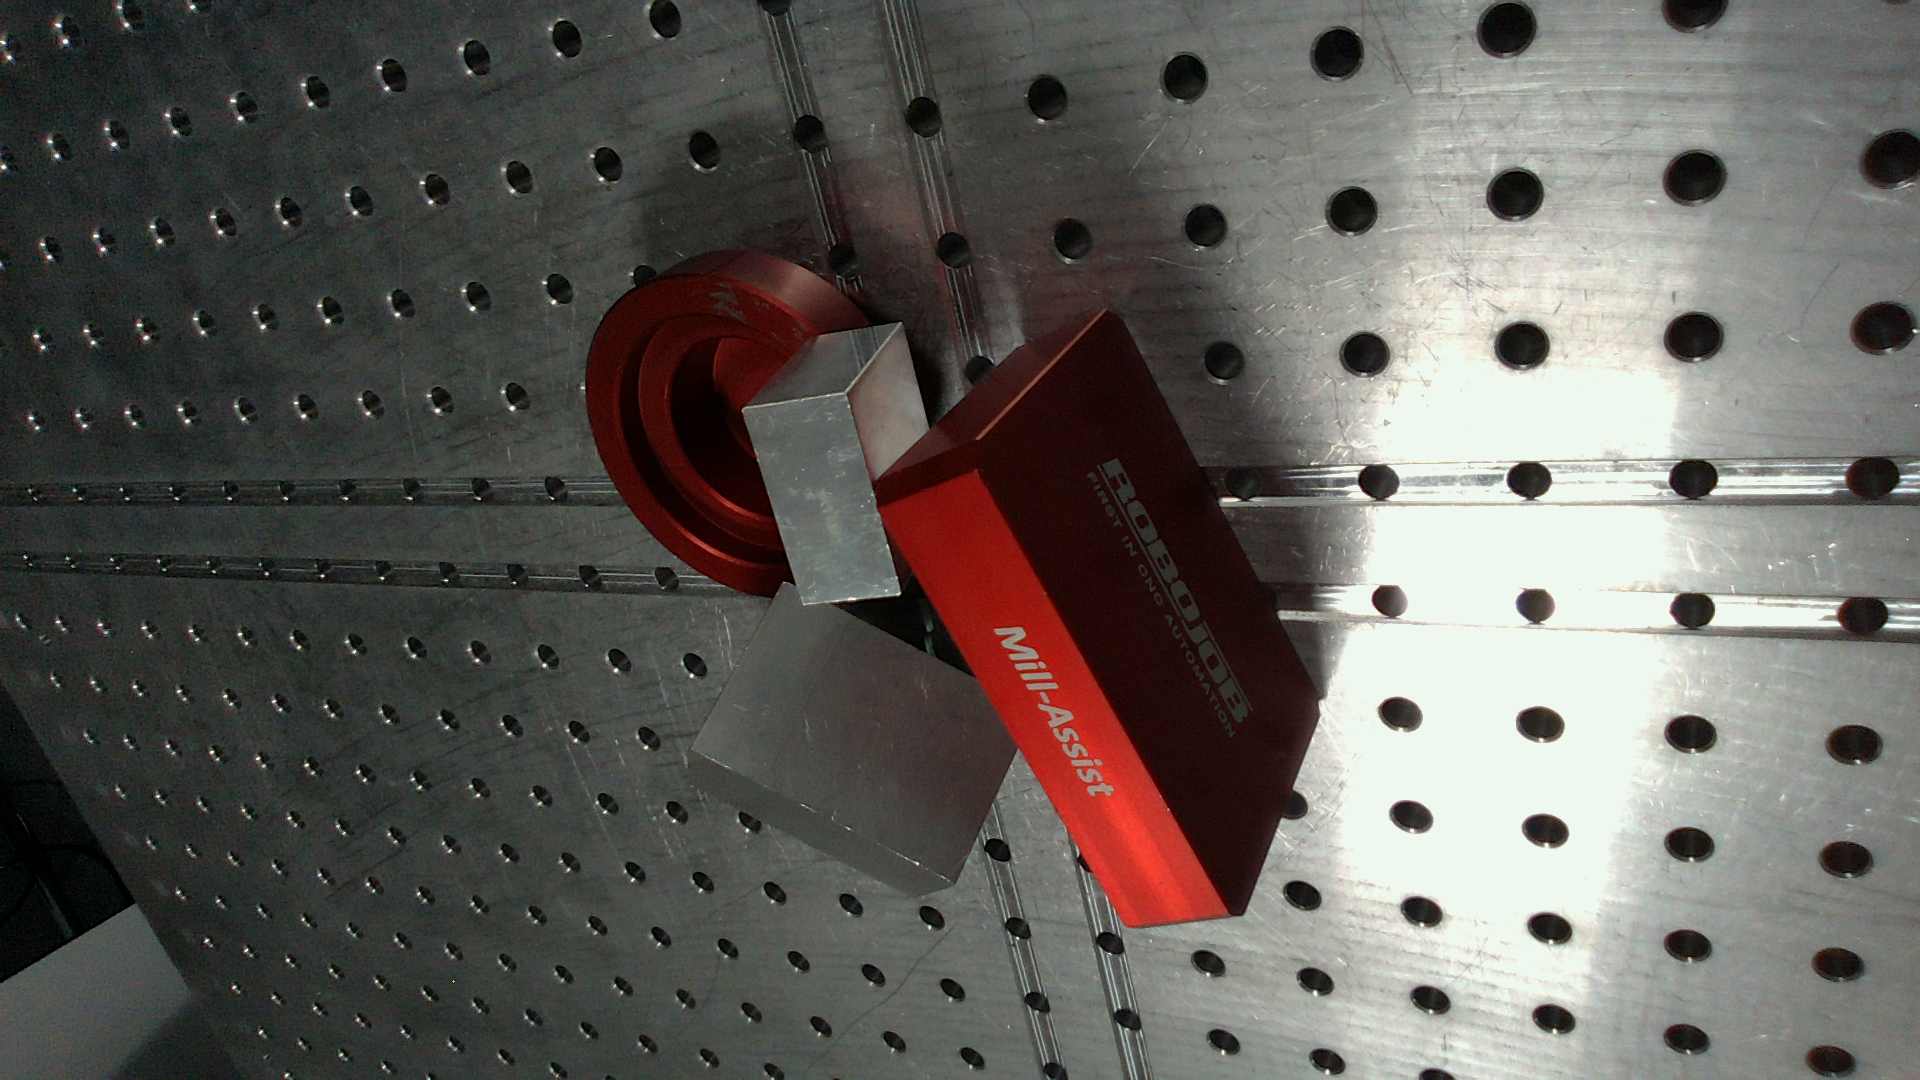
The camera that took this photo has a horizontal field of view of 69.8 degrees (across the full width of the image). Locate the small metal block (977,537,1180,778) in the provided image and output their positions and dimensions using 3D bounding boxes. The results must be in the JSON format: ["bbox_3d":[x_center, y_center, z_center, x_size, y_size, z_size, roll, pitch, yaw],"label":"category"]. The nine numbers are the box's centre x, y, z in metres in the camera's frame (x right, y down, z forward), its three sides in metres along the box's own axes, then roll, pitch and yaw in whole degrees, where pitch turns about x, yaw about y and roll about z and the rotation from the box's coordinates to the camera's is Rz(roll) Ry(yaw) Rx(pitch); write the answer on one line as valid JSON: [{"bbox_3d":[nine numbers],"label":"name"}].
[{"bbox_3d":[0.034,0.033,0.391,0.050,0.025,0.050,19,131,31],"label":"small metal block"}]

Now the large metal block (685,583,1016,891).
[{"bbox_3d":[-0.033,0.062,0.406,0.080,0.050,0.080,27,161,-2],"label":"large metal block"}]

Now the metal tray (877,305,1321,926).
[{"bbox_3d":[0.041,0.018,0.343,0.030,0.090,0.130,-19,108,36],"label":"metal tray"}]

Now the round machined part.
[{"bbox_3d":[-0.054,-0.036,0.392,0.098,0.042,0.098,13,124,21],"label":"round machined part"}]

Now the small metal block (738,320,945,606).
[{"bbox_3d":[-0.026,-0.019,0.329,0.025,0.050,0.050,-7,115,16],"label":"small metal block"}]
